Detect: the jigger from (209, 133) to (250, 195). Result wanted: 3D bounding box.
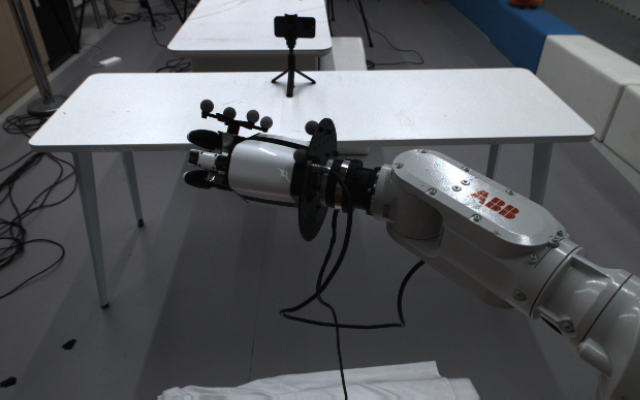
[{"bbox_3d":[-0.123,-0.054,0.652,0.043,0.071,0.043,14,2,0],"label":"jigger"}]
